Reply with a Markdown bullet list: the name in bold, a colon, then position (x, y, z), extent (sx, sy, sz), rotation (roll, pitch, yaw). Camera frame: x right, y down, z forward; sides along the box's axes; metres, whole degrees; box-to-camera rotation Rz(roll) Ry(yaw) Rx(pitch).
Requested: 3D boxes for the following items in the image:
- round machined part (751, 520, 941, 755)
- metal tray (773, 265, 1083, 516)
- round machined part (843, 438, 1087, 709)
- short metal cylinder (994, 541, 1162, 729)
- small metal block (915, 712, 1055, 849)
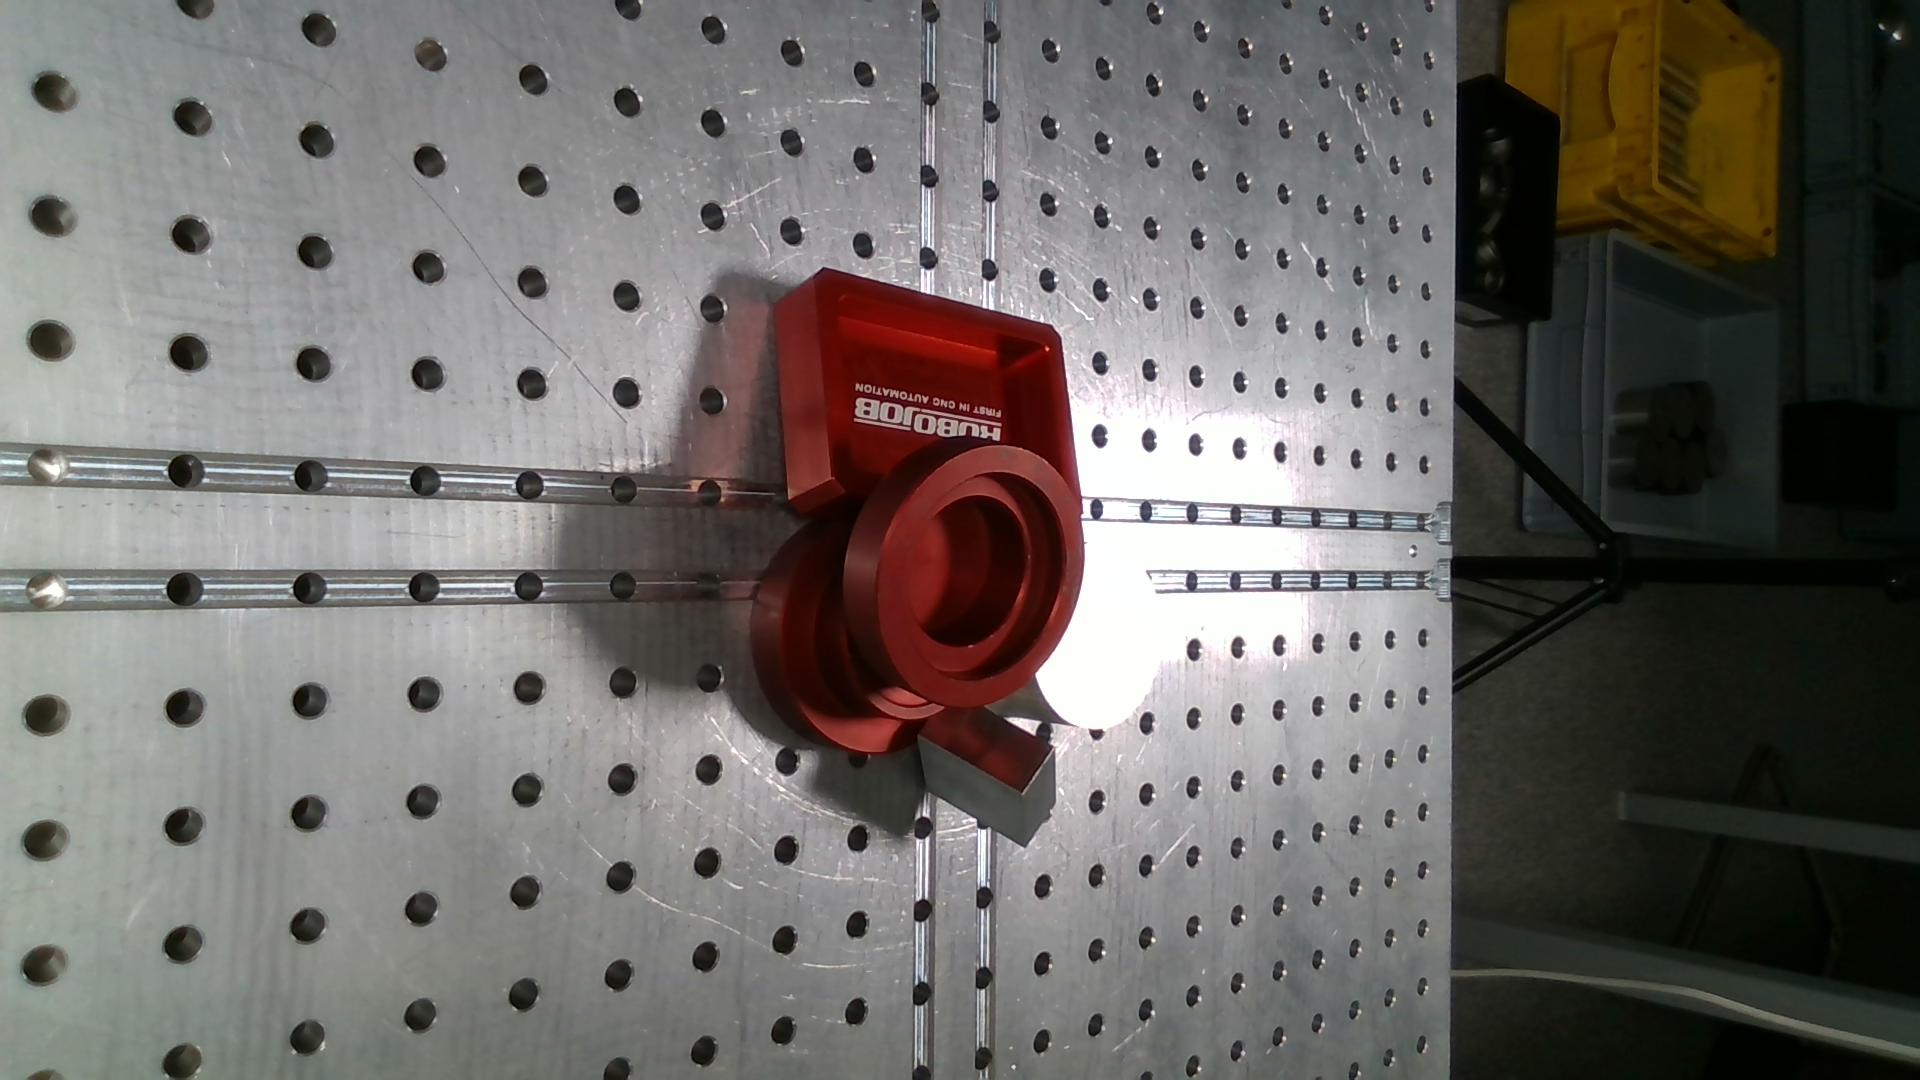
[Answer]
- **round machined part**: position (-0.030, 0.037, 0.548), extent (0.098, 0.042, 0.098), rotation (0, 90, -40)
- **metal tray**: position (-0.010, -0.052, 0.560), extent (0.130, 0.030, 0.090), rotation (6, 72, -40)
- **round machined part**: position (-0.003, 0.010, 0.510), extent (0.098, 0.042, 0.098), rotation (-10, 106, -37)
- **short metal cylinder**: position (0.043, 0.040, 0.606), extent (0.080, 0.050, 0.080), rotation (0, 90, -40)
- **small metal block**: position (0.011, 0.095, 0.567), extent (0.025, 0.050, 0.050), rotation (-51, 155, -28)
